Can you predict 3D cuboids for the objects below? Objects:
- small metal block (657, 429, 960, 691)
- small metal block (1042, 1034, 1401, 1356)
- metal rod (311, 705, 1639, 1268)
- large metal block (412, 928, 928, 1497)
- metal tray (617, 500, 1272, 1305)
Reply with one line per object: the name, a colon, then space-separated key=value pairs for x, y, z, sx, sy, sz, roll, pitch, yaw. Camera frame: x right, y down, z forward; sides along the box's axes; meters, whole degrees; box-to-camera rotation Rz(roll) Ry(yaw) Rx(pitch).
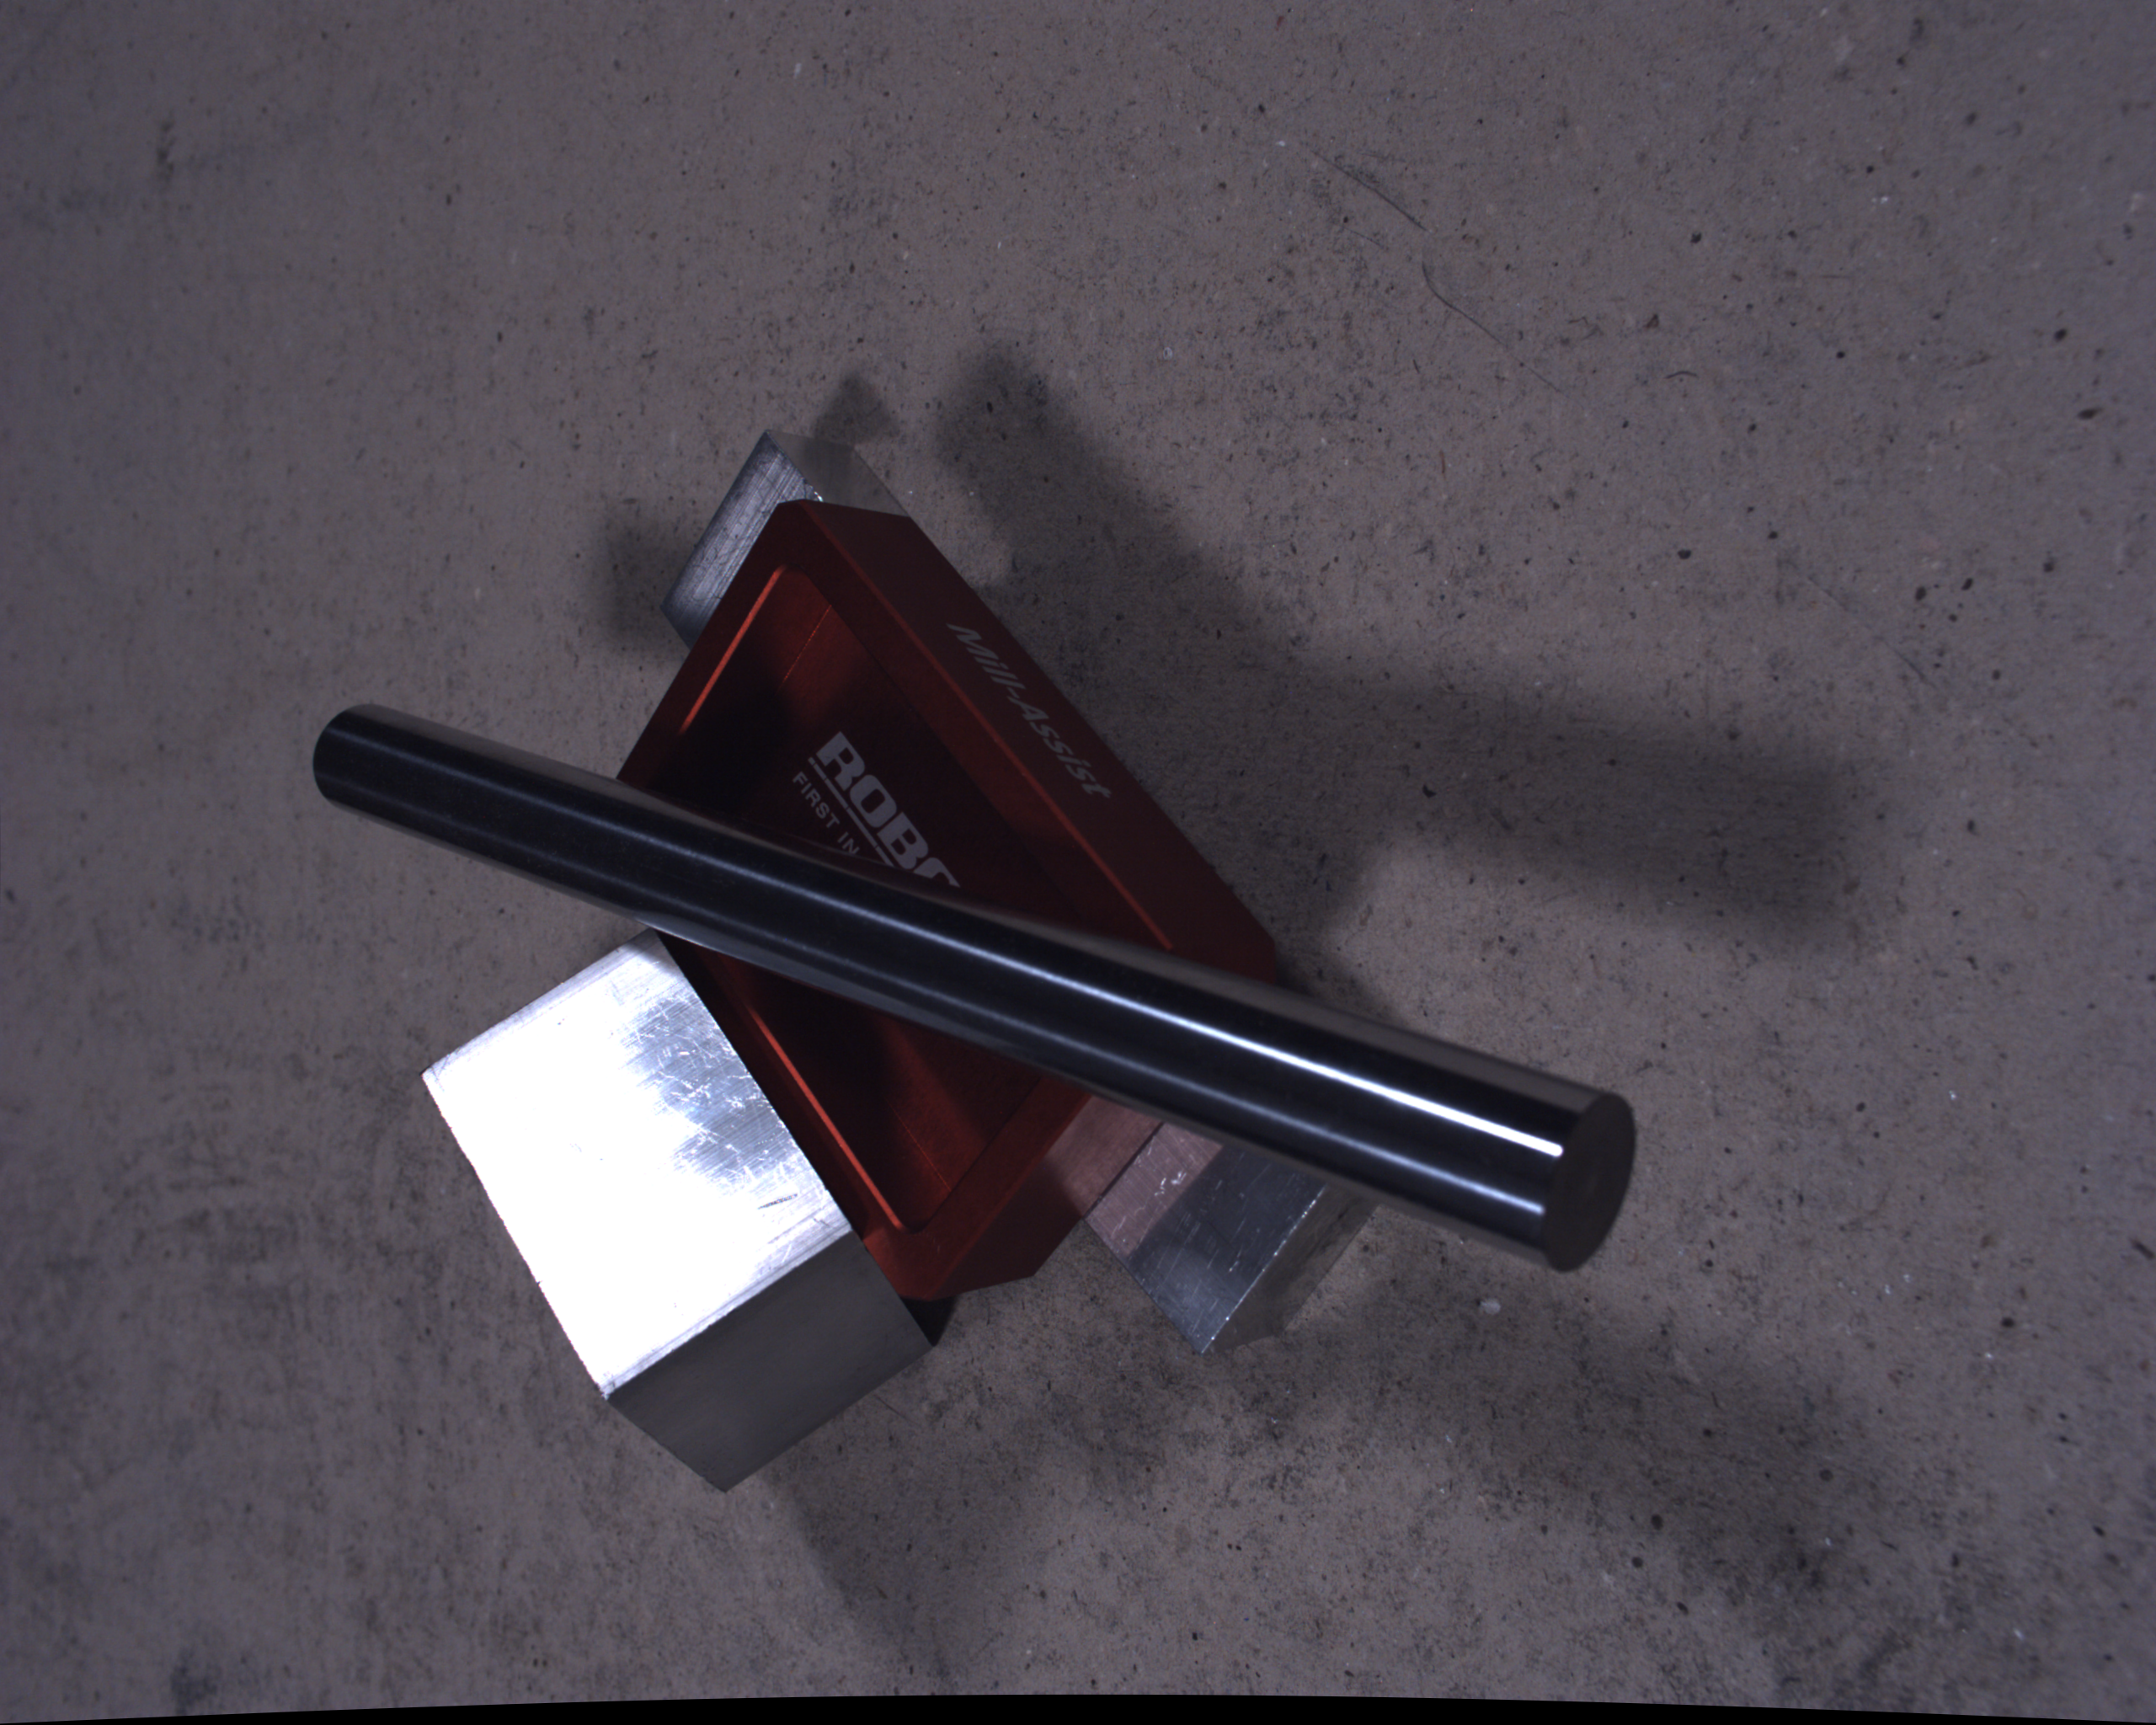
small metal block: x=-0.058 y=-0.057 z=0.452 sx=0.050 sy=0.025 sz=0.050 roll=52 pitch=120 yaw=27
small metal block: x=0.026 y=0.053 z=0.383 sx=0.050 sy=0.025 sz=0.050 roll=46 pitch=117 yaw=30
metal rod: x=-0.045 y=0.009 z=0.370 sx=0.300 sy=0.025 sz=0.025 roll=16 pitch=100 yaw=38
large metal block: x=-0.080 y=0.073 z=0.423 sx=0.050 sy=0.080 sz=0.080 roll=-34 pitch=62 yaw=-10
metal tray: x=-0.033 y=0.005 z=0.395 sx=0.130 sy=0.030 sz=0.090 roll=51 pitch=120 yaw=27
